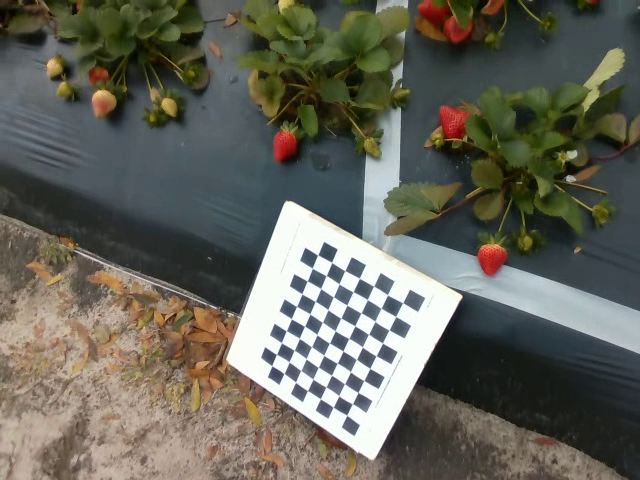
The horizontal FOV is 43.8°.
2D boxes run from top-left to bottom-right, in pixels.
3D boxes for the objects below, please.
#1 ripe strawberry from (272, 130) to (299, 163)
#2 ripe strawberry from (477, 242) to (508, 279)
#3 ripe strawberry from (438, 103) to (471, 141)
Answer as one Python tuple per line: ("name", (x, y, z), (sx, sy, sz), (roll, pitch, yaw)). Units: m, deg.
("ripe strawberry", (-0.047, -0.126, 1.042), (0.036, 0.046, 0.040), (18, -27, 34))
("ripe strawberry", (0.214, 0.023, 0.974), (0.039, 0.047, 0.041), (-7, 0, 38))
("ripe strawberry", (0.177, -0.158, 1.018), (0.042, 0.062, 0.043), (-15, -29, -52))
